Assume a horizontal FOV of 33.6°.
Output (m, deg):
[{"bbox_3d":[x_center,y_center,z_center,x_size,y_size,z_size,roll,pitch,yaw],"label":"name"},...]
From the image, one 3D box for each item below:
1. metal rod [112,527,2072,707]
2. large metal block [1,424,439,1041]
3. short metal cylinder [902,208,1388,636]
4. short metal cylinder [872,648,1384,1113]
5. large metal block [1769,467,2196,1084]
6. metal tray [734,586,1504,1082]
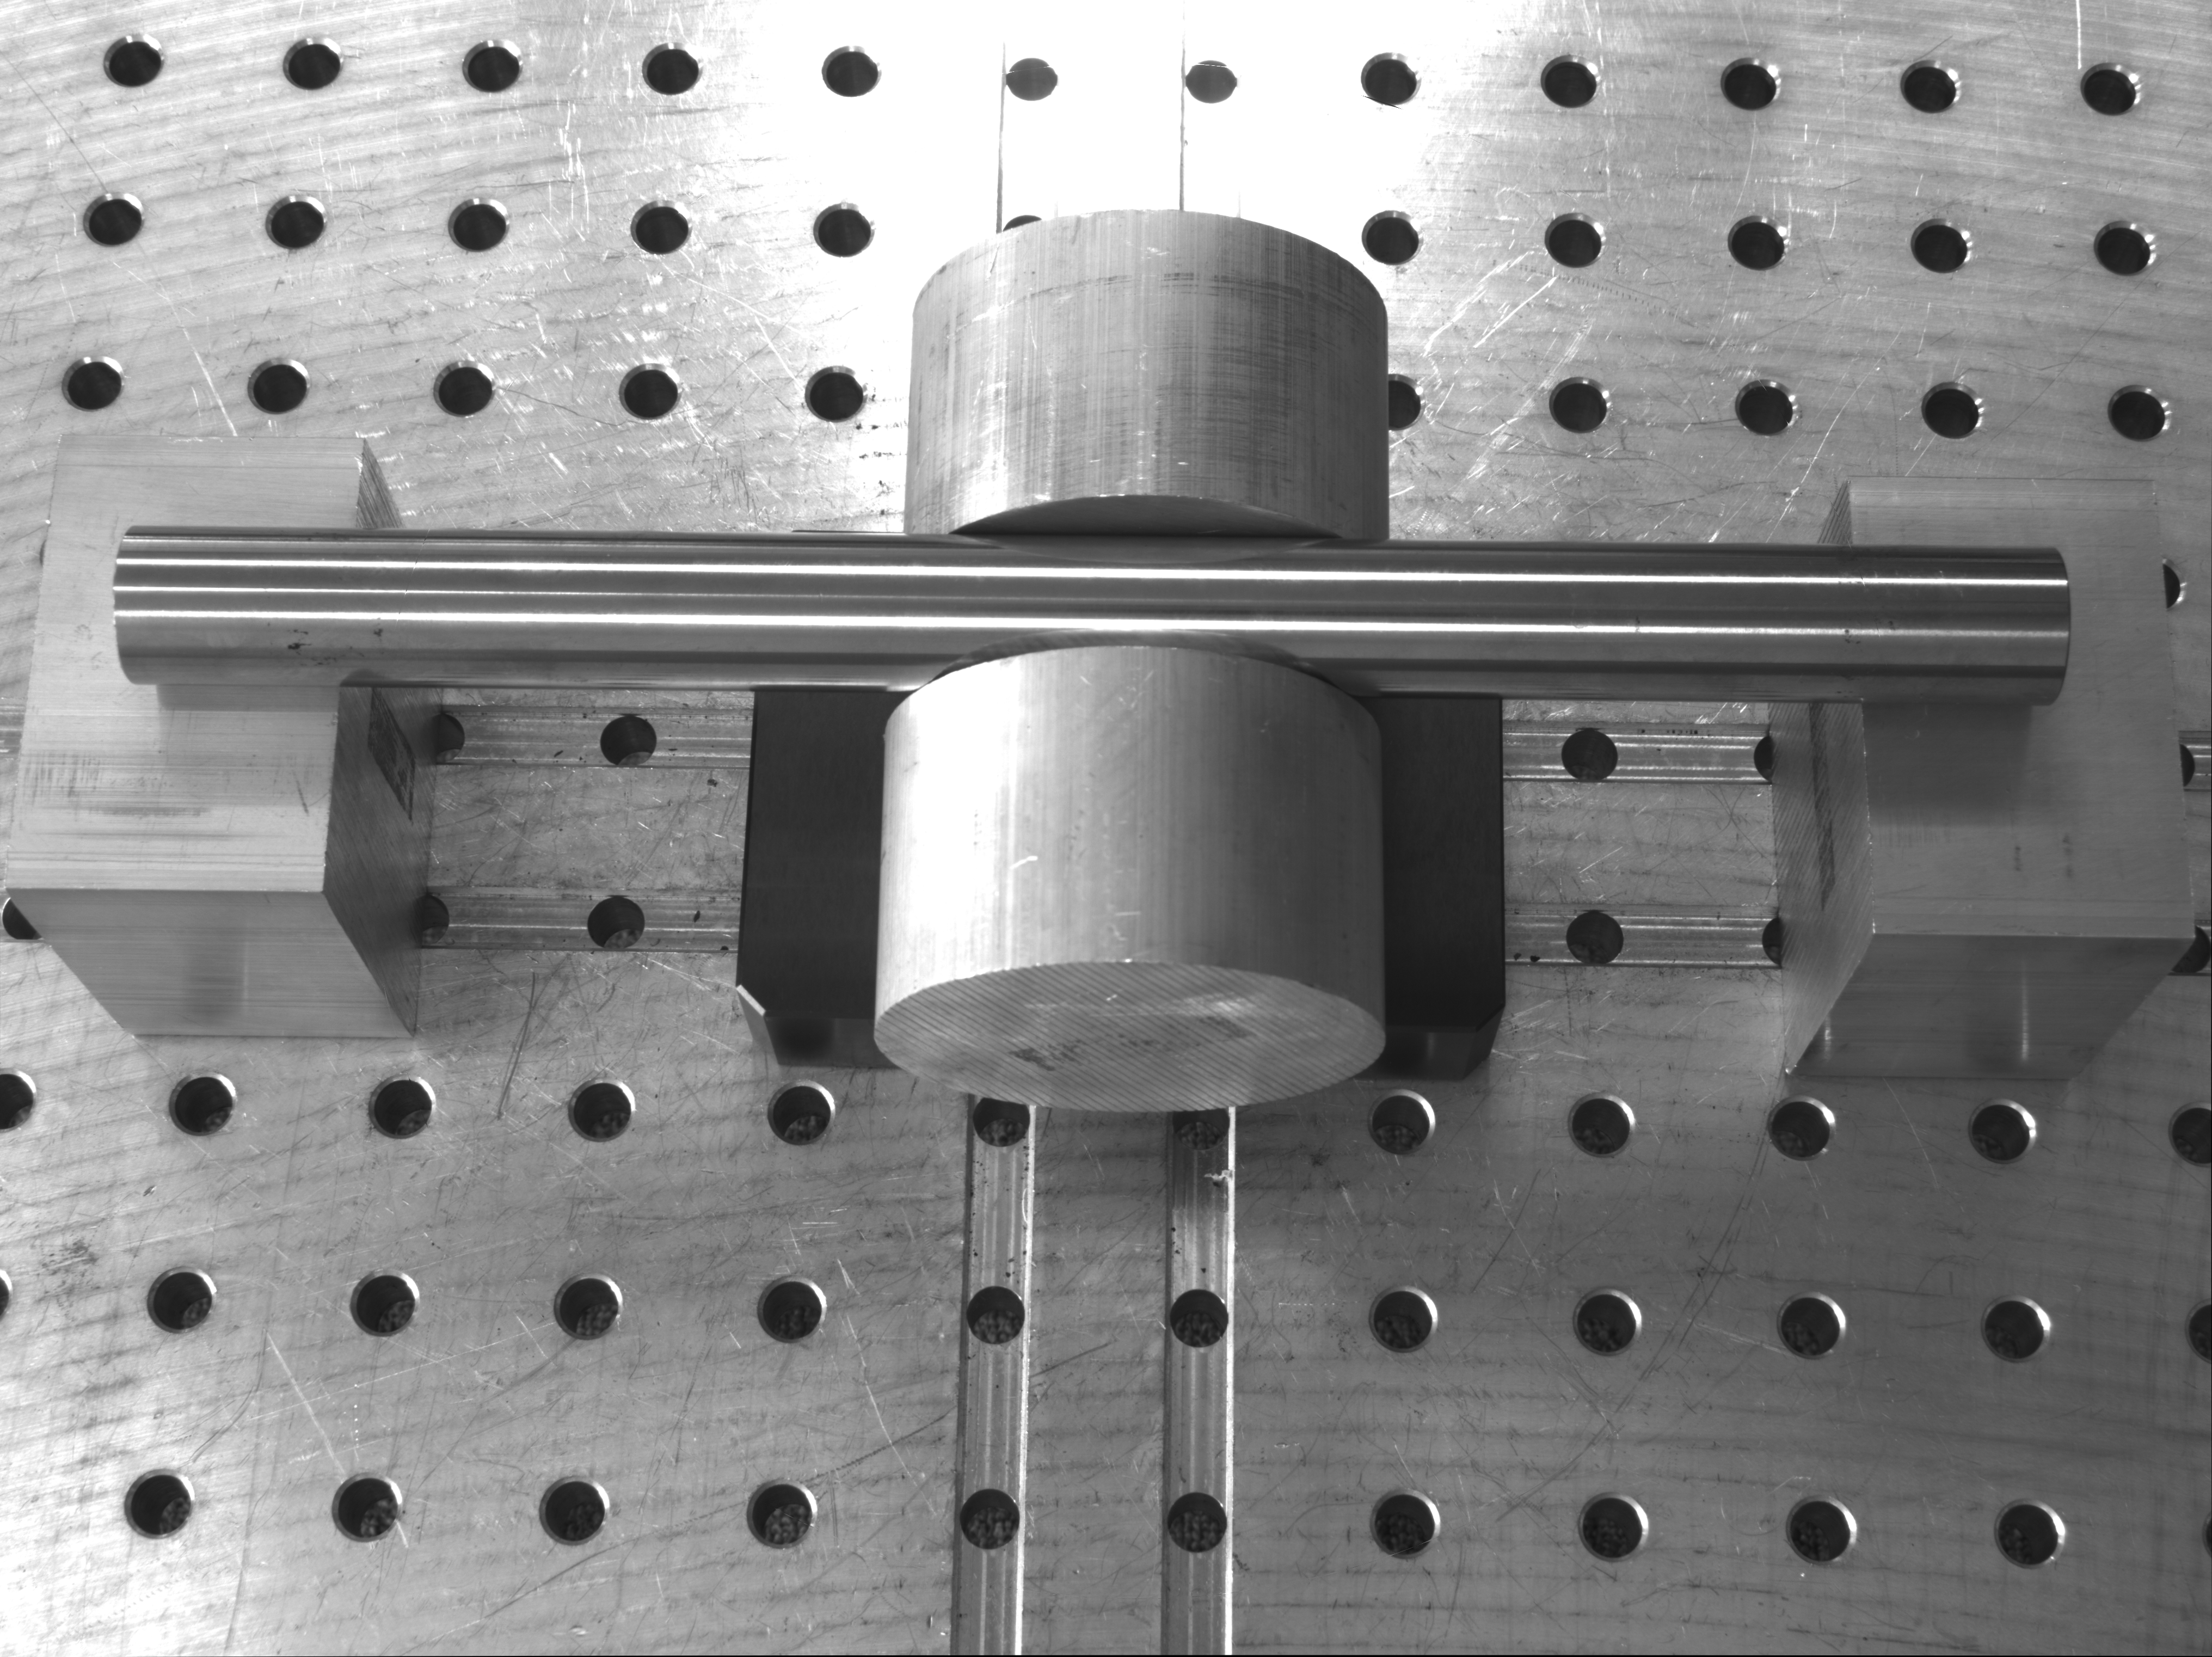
[{"bbox_3d":[-0.002,-0.033,0.574,0.300,0.025,0.025,1,70,0],"label":"metal rod"},{"bbox_3d":[-0.147,-0.014,0.622,0.050,0.080,0.080,1,70,1],"label":"large metal block"},{"bbox_3d":[0.007,-0.061,0.608,0.080,0.080,0.050,1,70,0],"label":"short metal cylinder"},{"bbox_3d":[0.004,0.010,0.582,0.080,0.080,0.050,1,70,0],"label":"short metal cylinder"},{"bbox_3d":[0.145,-0.007,0.619,0.050,0.080,0.080,1,70,1],"label":"large metal block"},{"bbox_3d":[0.003,-0.004,0.646,0.130,0.030,0.090,1,70,0],"label":"metal tray"}]
